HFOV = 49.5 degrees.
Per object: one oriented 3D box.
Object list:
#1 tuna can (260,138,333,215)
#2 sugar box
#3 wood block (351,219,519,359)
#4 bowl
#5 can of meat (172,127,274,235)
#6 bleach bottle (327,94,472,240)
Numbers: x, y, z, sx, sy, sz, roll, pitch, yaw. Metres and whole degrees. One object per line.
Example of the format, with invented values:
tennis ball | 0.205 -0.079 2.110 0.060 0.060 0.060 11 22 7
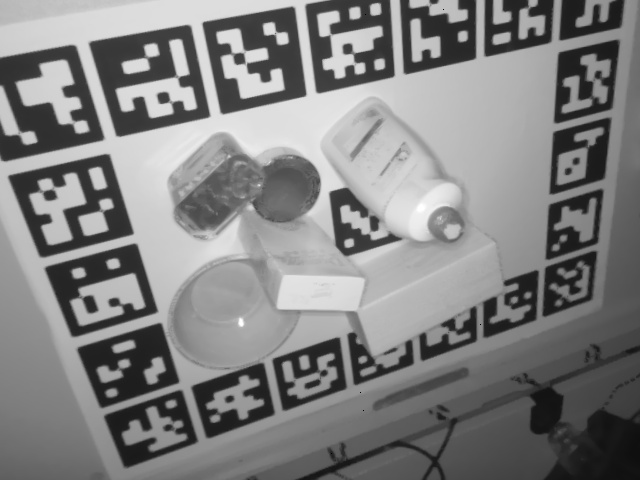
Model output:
tuna can | -0.031 -0.074 0.804 0.087 0.033 0.085 -8 115 -18
sugar box | -0.024 0.015 0.768 0.094 0.176 0.045 5 112 -26
wood block | 0.144 0.062 0.915 0.207 0.089 0.090 -22 117 -9
bowl | -0.110 0.079 0.840 0.163 0.055 0.160 -11 119 -20
can of meat | -0.109 -0.067 0.755 0.101 0.083 0.058 -40 126 3
bleach bottle | 0.093 -0.073 0.730 0.103 0.250 0.068 -36 124 0
